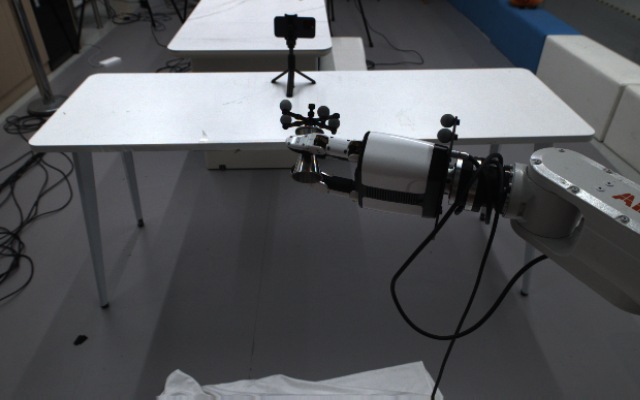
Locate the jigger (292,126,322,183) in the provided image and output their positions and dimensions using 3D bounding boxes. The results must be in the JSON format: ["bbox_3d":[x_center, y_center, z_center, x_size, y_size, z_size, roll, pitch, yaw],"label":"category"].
[{"bbox_3d":[-0.017,-0.064,0.657,0.043,0.043,0.071,3,72,1],"label":"jigger"}]
